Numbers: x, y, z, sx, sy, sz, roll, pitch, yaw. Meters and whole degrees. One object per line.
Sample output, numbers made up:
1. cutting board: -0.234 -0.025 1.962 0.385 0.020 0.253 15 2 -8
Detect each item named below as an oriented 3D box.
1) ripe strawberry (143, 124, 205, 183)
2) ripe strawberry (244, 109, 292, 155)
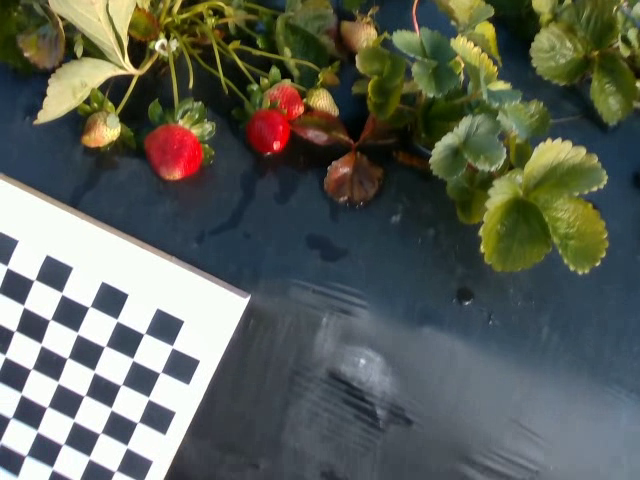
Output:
1. ripe strawberry: -0.121 -0.070 0.538 0.050 0.050 0.065 -14 35 7
2. ripe strawberry: -0.045 -0.090 0.571 0.042 0.044 0.055 48 7 -36
